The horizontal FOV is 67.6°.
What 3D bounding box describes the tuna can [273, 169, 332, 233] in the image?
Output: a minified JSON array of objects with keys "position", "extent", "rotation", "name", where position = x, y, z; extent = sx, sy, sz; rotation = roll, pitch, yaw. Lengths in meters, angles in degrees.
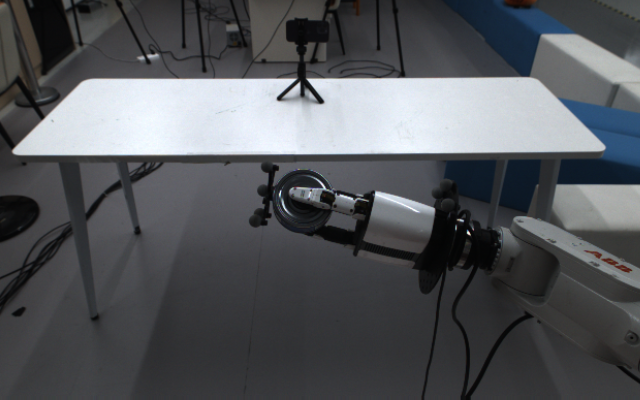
[{"position":[-0.021,0.000,0.667],"extent":[0.085,0.034,0.085],"rotation":[1,73,-5],"name":"tuna can"}]
